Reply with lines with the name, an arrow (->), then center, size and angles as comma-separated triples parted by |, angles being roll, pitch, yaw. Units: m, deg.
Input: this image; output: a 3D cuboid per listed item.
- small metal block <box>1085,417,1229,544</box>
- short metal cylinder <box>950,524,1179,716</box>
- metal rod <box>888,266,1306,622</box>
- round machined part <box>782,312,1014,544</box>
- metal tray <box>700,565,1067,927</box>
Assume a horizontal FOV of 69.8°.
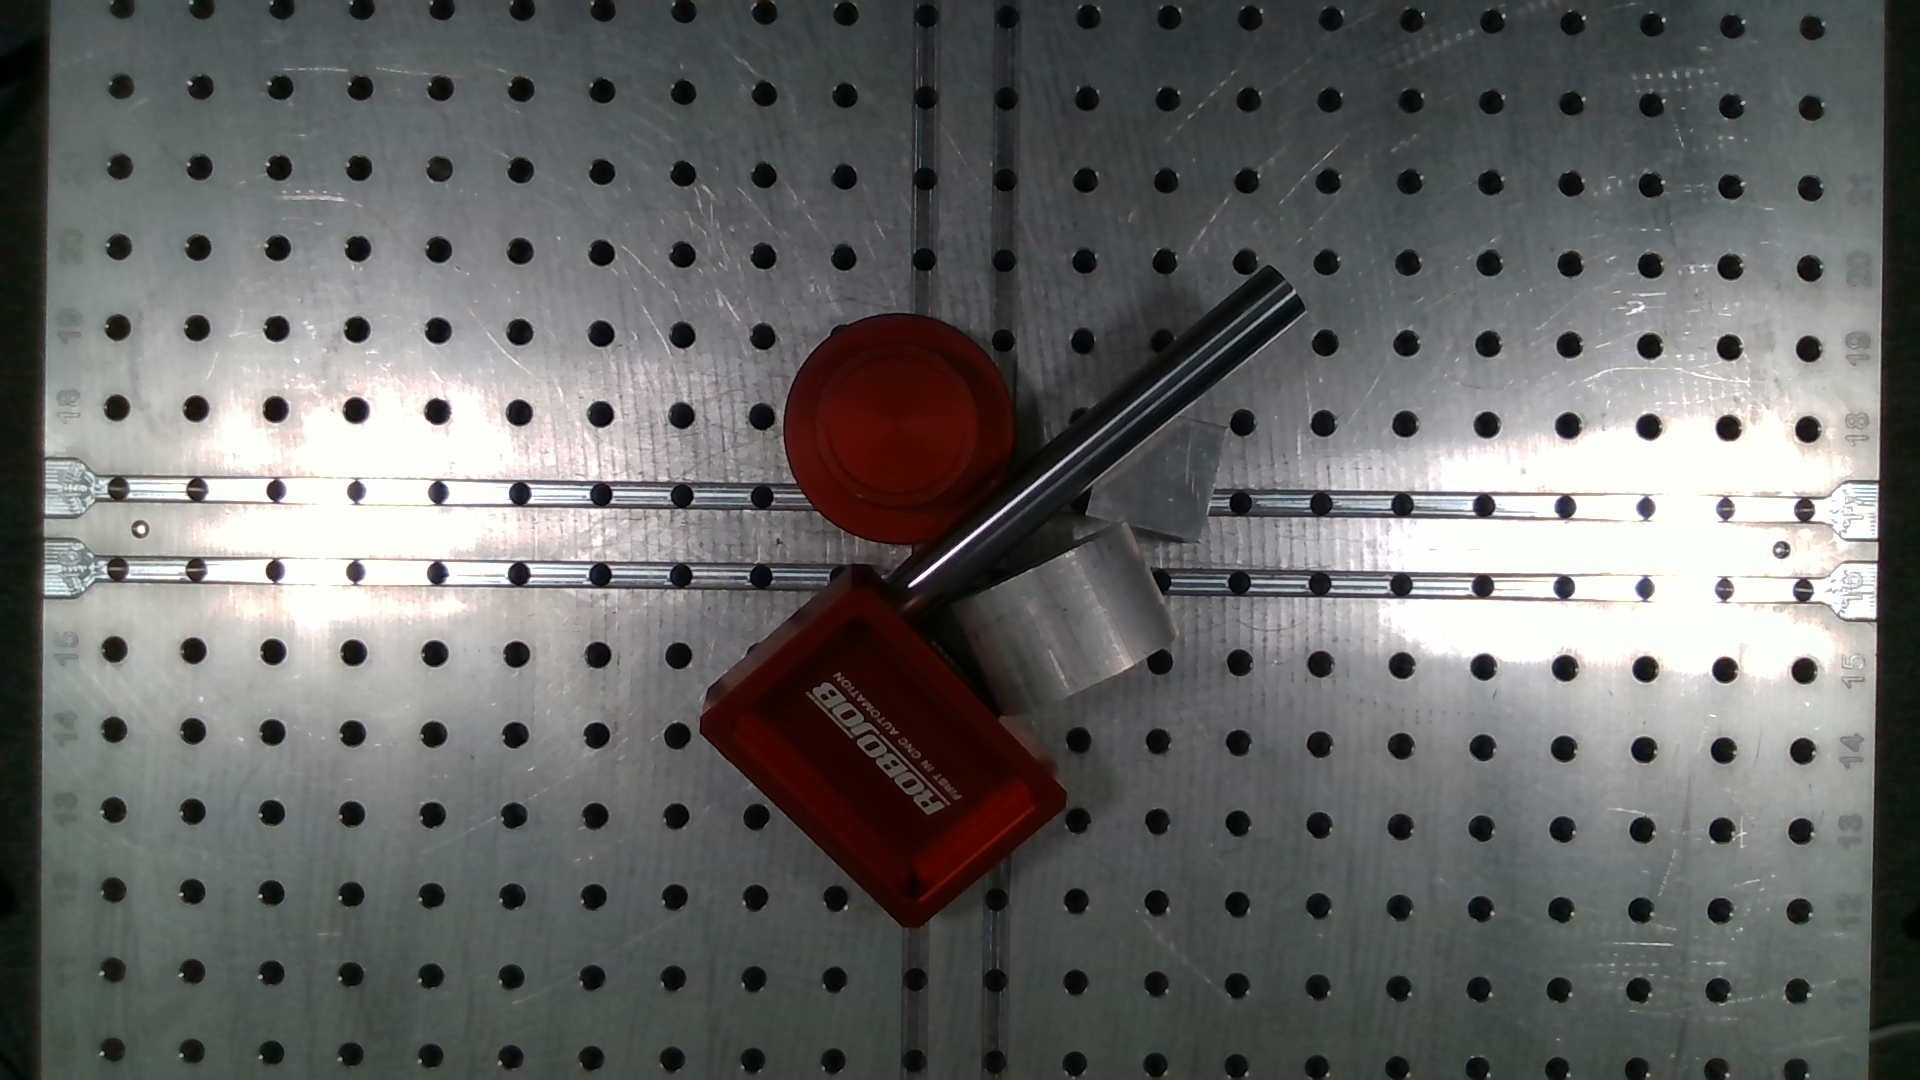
small metal block -> 0.083, -0.028, 0.590 | 0.050, 0.025, 0.050 | 13, 90, 0
short metal cylinder -> 0.042, 0.032, 0.562 | 0.080, 0.080, 0.050 | -25, 90, 0
metal rod -> 0.016, -0.006, 0.572 | 0.300, 0.025, 0.025 | -39, 90, 8
round machined part -> -0.026, -0.047, 0.579 | 0.098, 0.042, 0.098 | 0, 90, 0
metal tray -> -0.030, 0.086, 0.566 | 0.090, 0.030, 0.130 | -41, 106, 8
